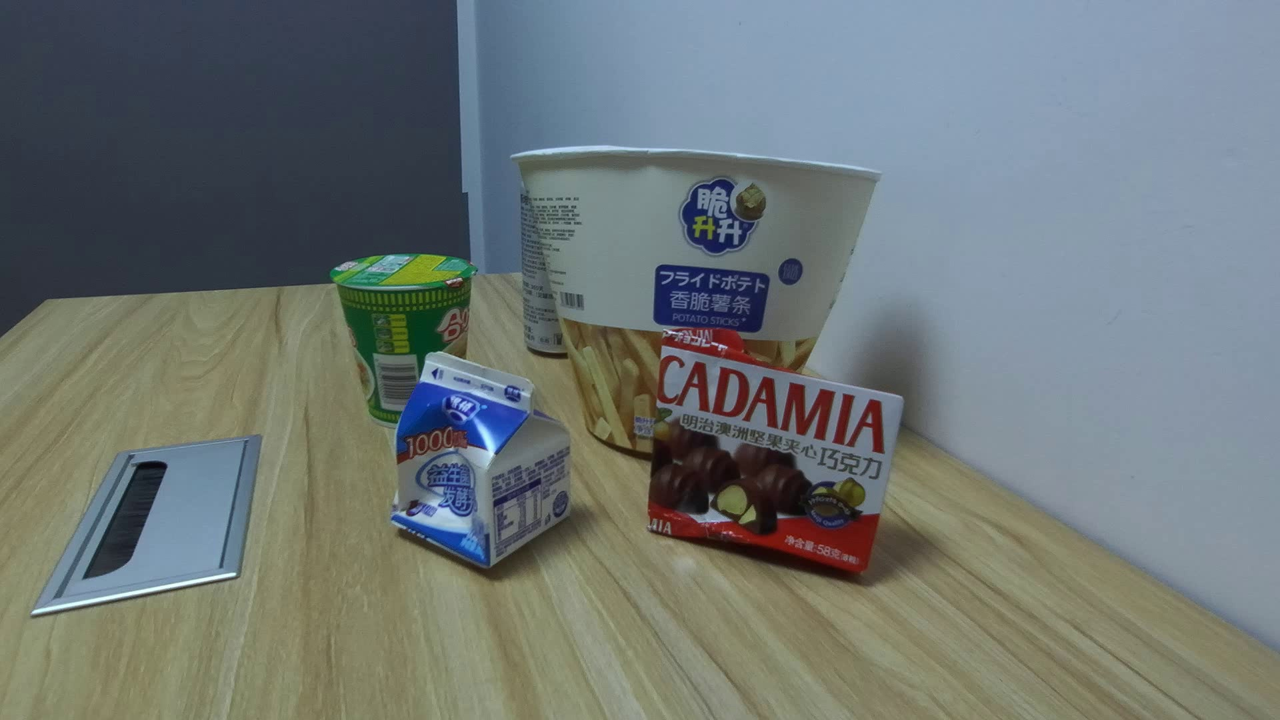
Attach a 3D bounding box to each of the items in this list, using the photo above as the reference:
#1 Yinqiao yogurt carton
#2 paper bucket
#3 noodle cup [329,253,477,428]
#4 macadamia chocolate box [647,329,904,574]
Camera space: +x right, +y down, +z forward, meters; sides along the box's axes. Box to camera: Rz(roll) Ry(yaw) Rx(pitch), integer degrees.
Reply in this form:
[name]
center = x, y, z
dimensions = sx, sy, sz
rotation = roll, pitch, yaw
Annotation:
[Yinqiao yogurt carton]
center = -0.086, 0.048, 0.386
dimensions = 0.077, 0.094, 0.071
rotation = 14, 17, 27
[paper bucket]
center = 0.031, -0.047, 0.500
dimensions = 0.218, 0.199, 0.147
rotation = -5, 22, -18
[noodle cup]
center = -0.167, -0.014, 0.512
dimensions = 0.097, 0.110, 0.097
rotation = 2, 21, -1
[macadamia chocolate box]
center = 0.070, 0.046, 0.381
dimensions = 0.126, 0.112, 0.056
rotation = 10, 22, 20
